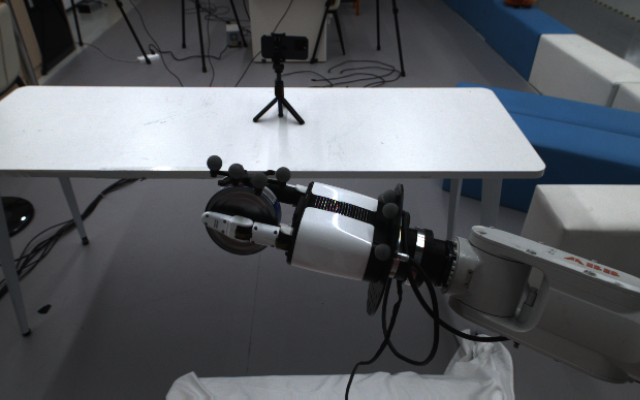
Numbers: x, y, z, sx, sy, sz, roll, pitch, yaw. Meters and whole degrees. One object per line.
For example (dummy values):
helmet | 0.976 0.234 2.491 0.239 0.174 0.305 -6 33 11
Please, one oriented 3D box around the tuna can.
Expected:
tuna can | -0.088 0.019 0.568 0.085 0.085 0.034 5 18 4
